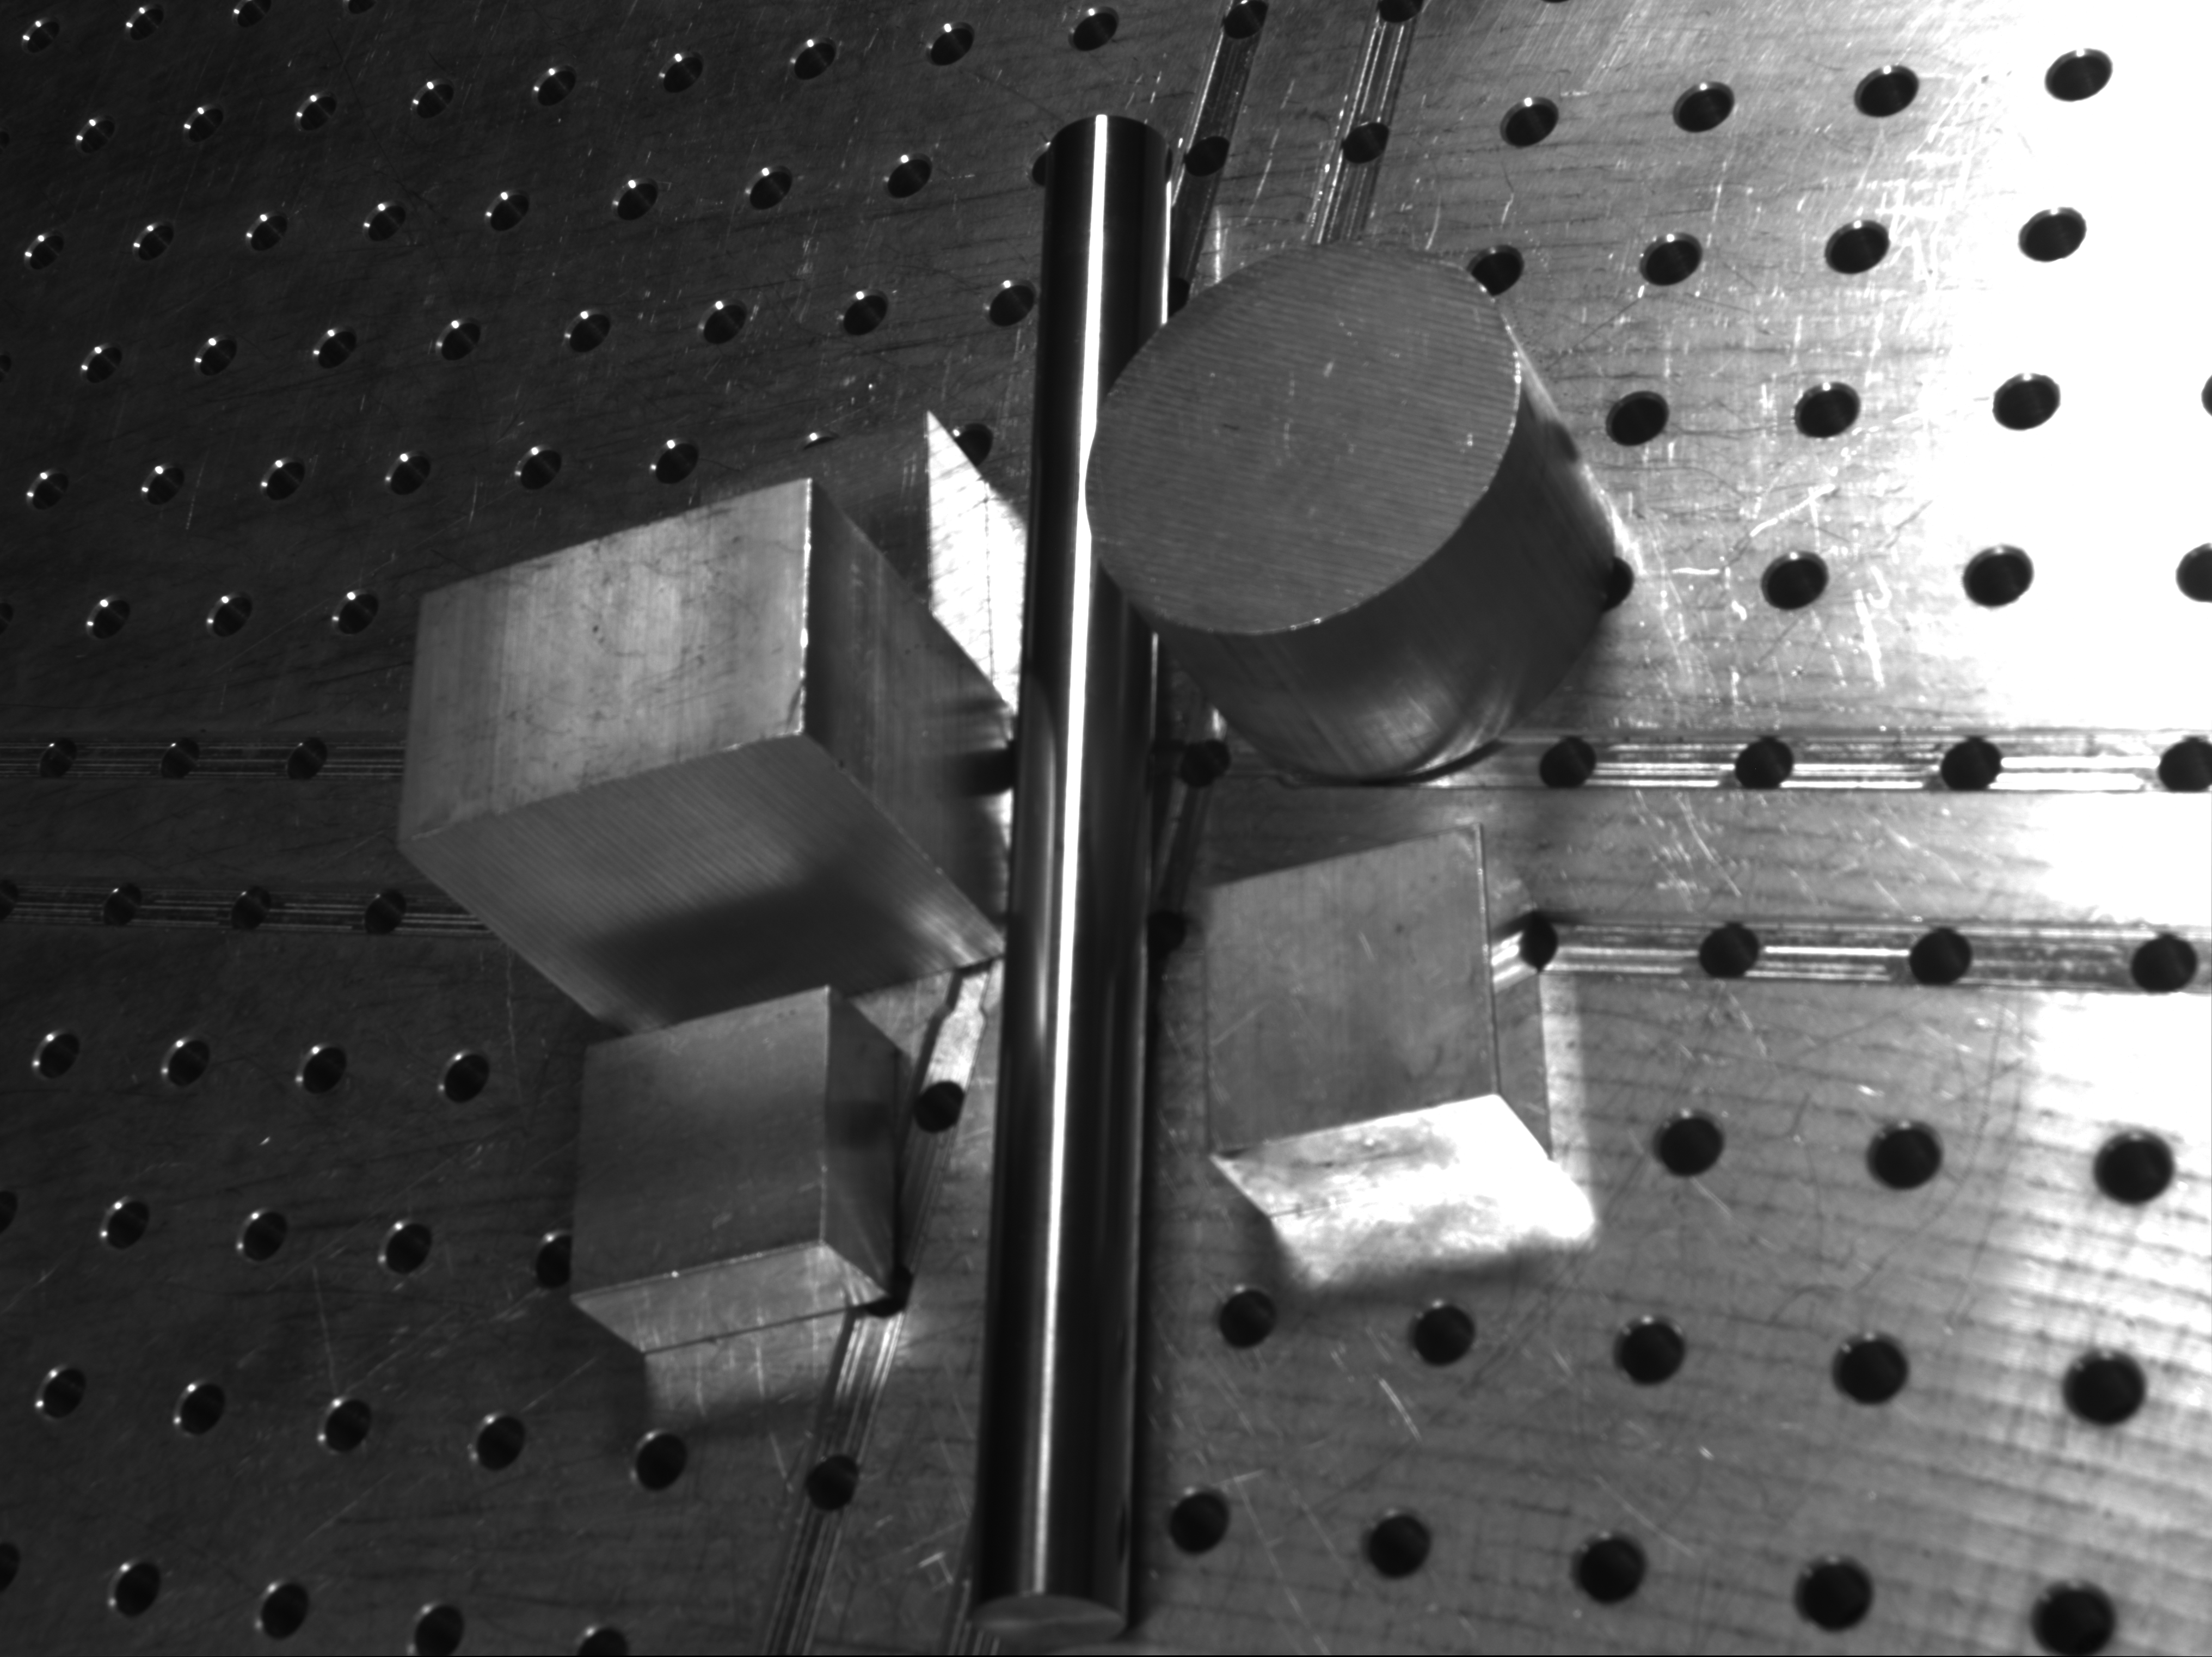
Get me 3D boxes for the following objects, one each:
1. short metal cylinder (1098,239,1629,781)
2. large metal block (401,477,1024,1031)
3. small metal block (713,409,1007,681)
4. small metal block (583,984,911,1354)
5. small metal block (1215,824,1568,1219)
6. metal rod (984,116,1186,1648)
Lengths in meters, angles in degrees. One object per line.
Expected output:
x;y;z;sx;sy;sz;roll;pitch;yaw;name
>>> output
0.045;-0.055;0.641;0.080;0.050;0.080;-13;56;21;short metal cylinder
-0.067;-0.010;0.652;0.080;0.080;0.050;-15;55;20;large metal block
-0.048;-0.046;0.702;0.050;0.025;0.050;-16;55;19;small metal block
-0.063;0.060;0.644;0.050;0.025;0.050;-15;55;20;small metal block
0.046;0.032;0.602;0.050;0.025;0.050;-14;56;21;small metal block
-0.001;-0.004;0.650;0.025;0.025;0.300;-12;56;22;metal rod
